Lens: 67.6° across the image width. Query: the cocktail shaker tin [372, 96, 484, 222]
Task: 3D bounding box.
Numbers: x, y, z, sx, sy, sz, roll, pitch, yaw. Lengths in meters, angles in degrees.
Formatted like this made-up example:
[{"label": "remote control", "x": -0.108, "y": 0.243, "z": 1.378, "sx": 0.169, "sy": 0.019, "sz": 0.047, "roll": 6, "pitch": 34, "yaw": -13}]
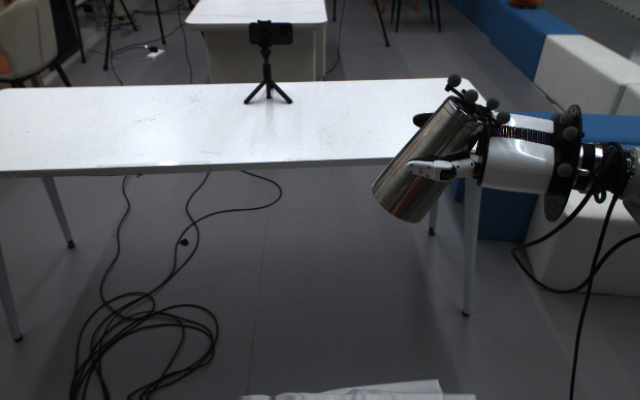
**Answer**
[{"label": "cocktail shaker tin", "x": 0.158, "y": -0.064, "z": 0.690, "sx": 0.093, "sy": 0.170, "sz": 0.093, "roll": 26, "pitch": 32, "yaw": -17}]
